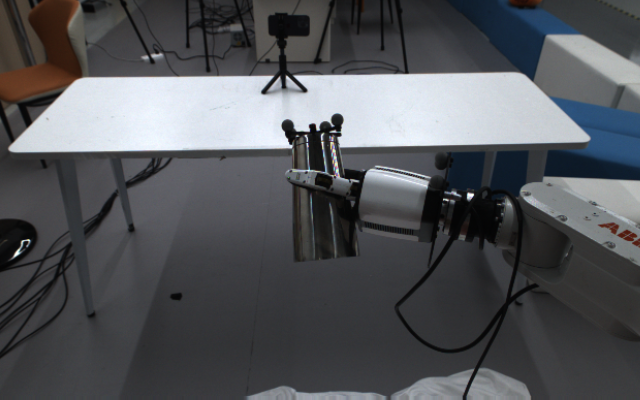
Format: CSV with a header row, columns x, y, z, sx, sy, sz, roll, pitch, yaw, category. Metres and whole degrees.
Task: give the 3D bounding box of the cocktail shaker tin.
x,y,z,sx,sy,sz,roll,pitch,yaw,category
0.001,-0.002,0.677,0.093,0.170,0.093,-6,-7,-1,cocktail shaker tin
